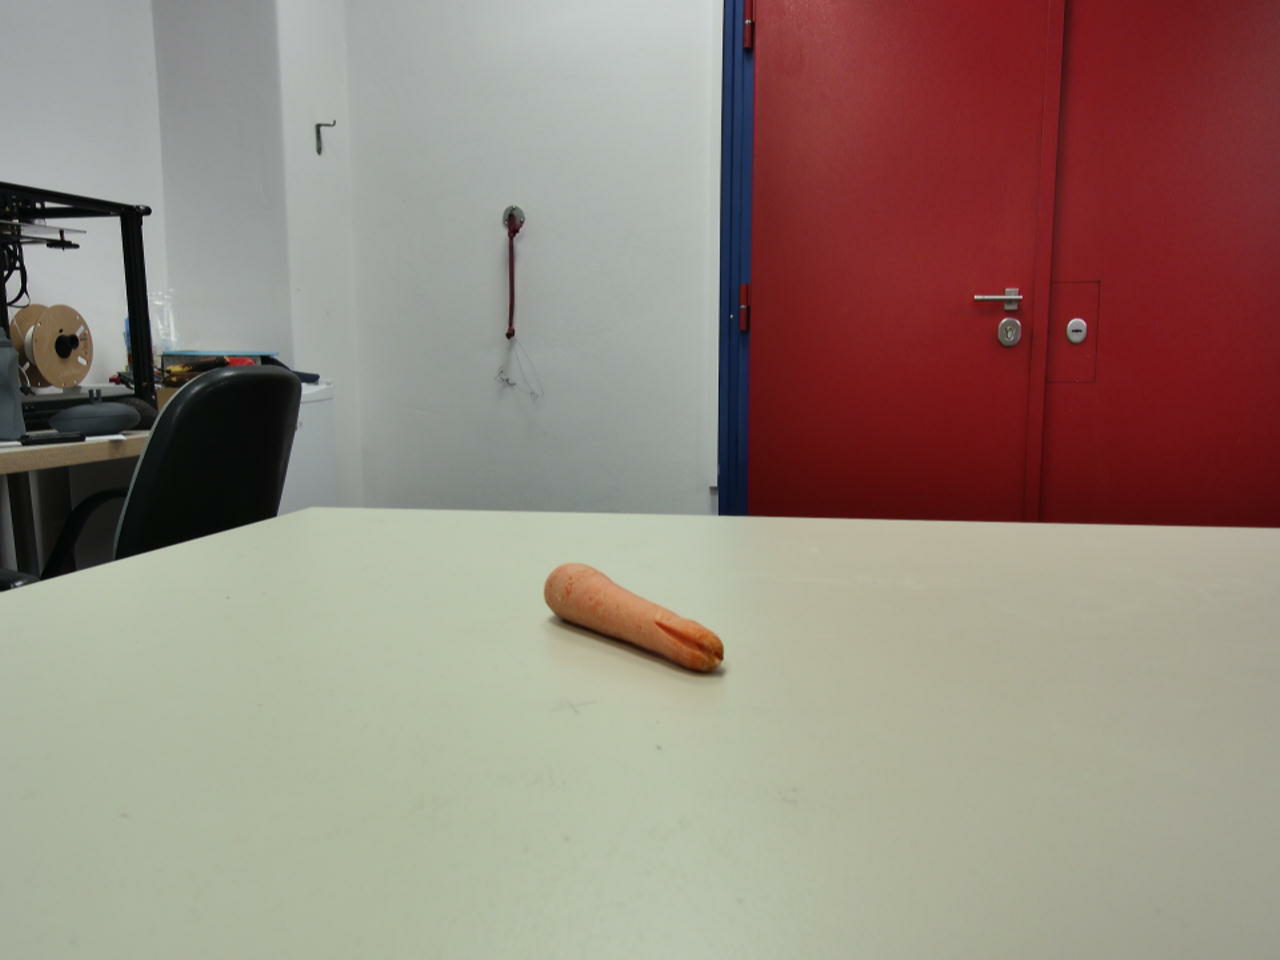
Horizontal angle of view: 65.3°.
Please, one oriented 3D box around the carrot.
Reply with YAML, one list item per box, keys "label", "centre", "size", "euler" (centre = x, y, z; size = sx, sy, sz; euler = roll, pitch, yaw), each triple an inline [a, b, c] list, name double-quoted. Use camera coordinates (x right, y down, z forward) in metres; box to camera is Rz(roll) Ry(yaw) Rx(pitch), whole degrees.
- label: "carrot"
  centre: [-0.007, 0.061, 0.468]
  size: [0.030, 0.032, 0.136]
  euler: [-2, 5, -33]
